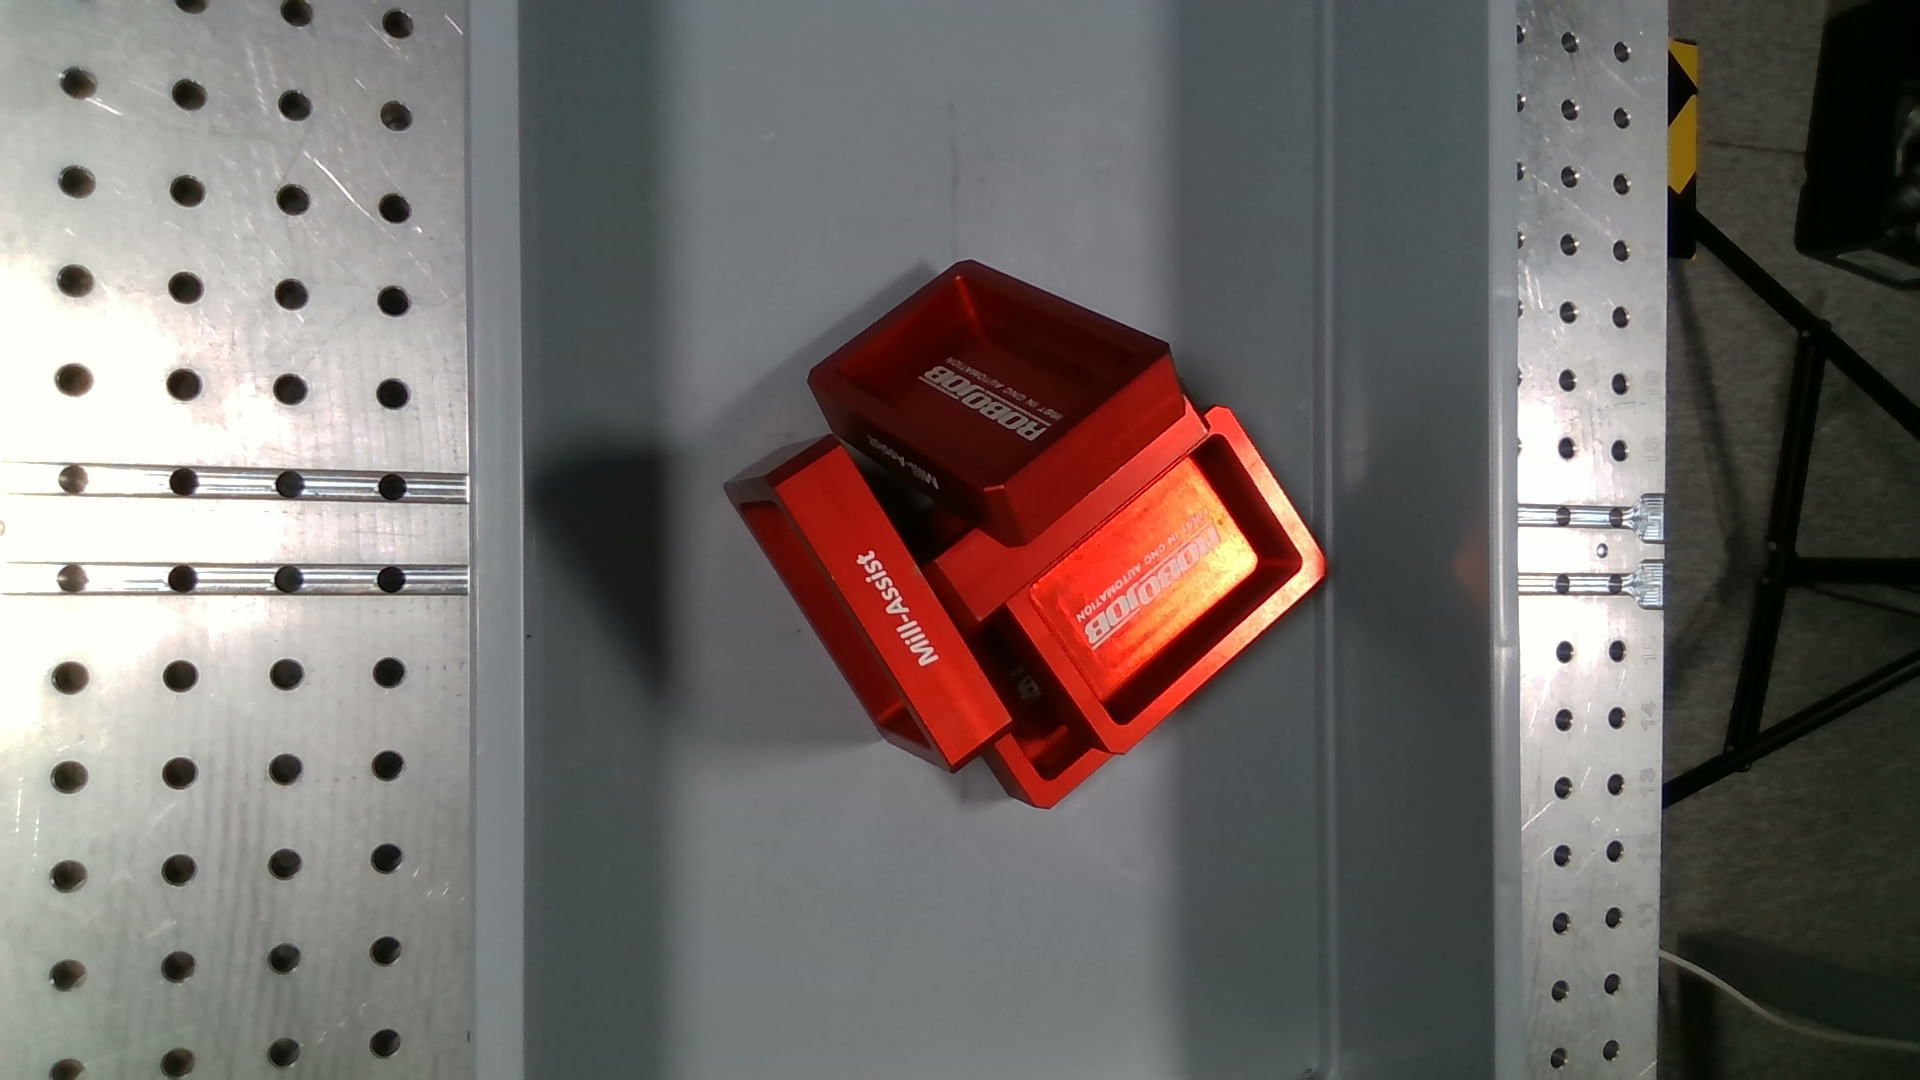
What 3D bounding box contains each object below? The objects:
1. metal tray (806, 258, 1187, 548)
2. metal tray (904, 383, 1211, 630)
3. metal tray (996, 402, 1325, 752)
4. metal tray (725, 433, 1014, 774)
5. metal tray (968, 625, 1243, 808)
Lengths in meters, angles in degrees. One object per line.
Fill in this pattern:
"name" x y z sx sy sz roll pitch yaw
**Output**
"metal tray" 0.011 -0.058 0.534 0.090 0.130 0.030 -39 133 -16
"metal tray" 0.029 -0.017 0.560 0.130 0.090 0.030 -39 102 -16
"metal tray" 0.081 0.015 0.580 0.130 0.030 0.090 -38 102 -17
"metal tray" -0.038 0.024 0.536 0.030 0.090 0.130 -34 101 -17
"metal tray" 0.055 0.043 0.604 0.130 0.030 0.090 -36 100 -18
